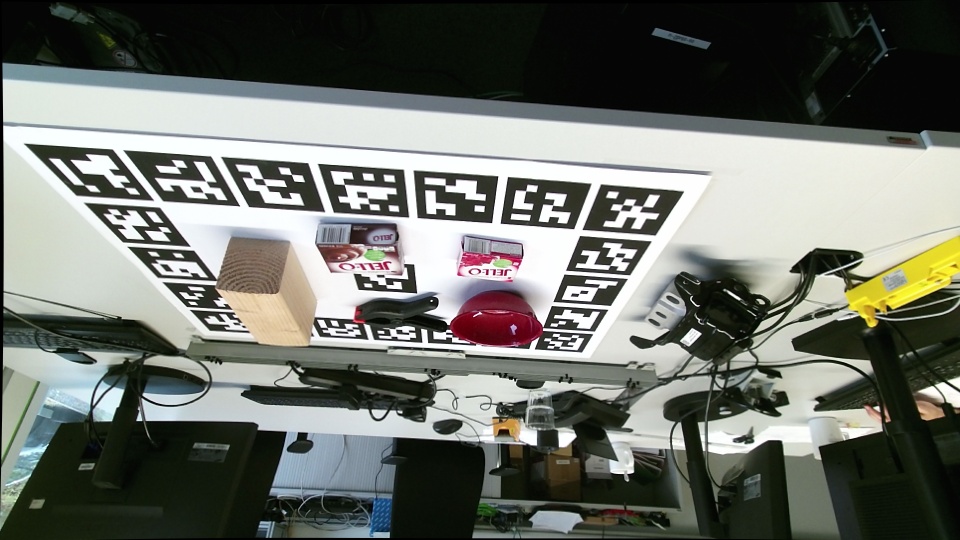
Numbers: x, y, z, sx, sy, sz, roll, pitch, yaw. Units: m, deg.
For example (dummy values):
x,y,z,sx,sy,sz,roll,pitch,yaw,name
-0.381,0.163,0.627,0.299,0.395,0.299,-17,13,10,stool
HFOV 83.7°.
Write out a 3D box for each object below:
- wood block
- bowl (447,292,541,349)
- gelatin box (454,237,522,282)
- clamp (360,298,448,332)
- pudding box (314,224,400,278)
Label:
x,y,z,sx,sy,sz,roll,pitch,yaw,name
-0.342,0.047,0.860,0.090,0.090,0.206,6,148,-3,wood block
0.025,0.085,0.941,0.162,0.055,0.162,2,146,2,bowl
0.011,-0.011,0.797,0.090,0.030,0.073,8,146,-8,gelatin box
-0.138,0.088,0.978,0.166,0.036,0.122,-1,148,9,clamp
-0.175,-0.026,0.780,0.114,0.038,0.090,1,144,-2,pudding box
